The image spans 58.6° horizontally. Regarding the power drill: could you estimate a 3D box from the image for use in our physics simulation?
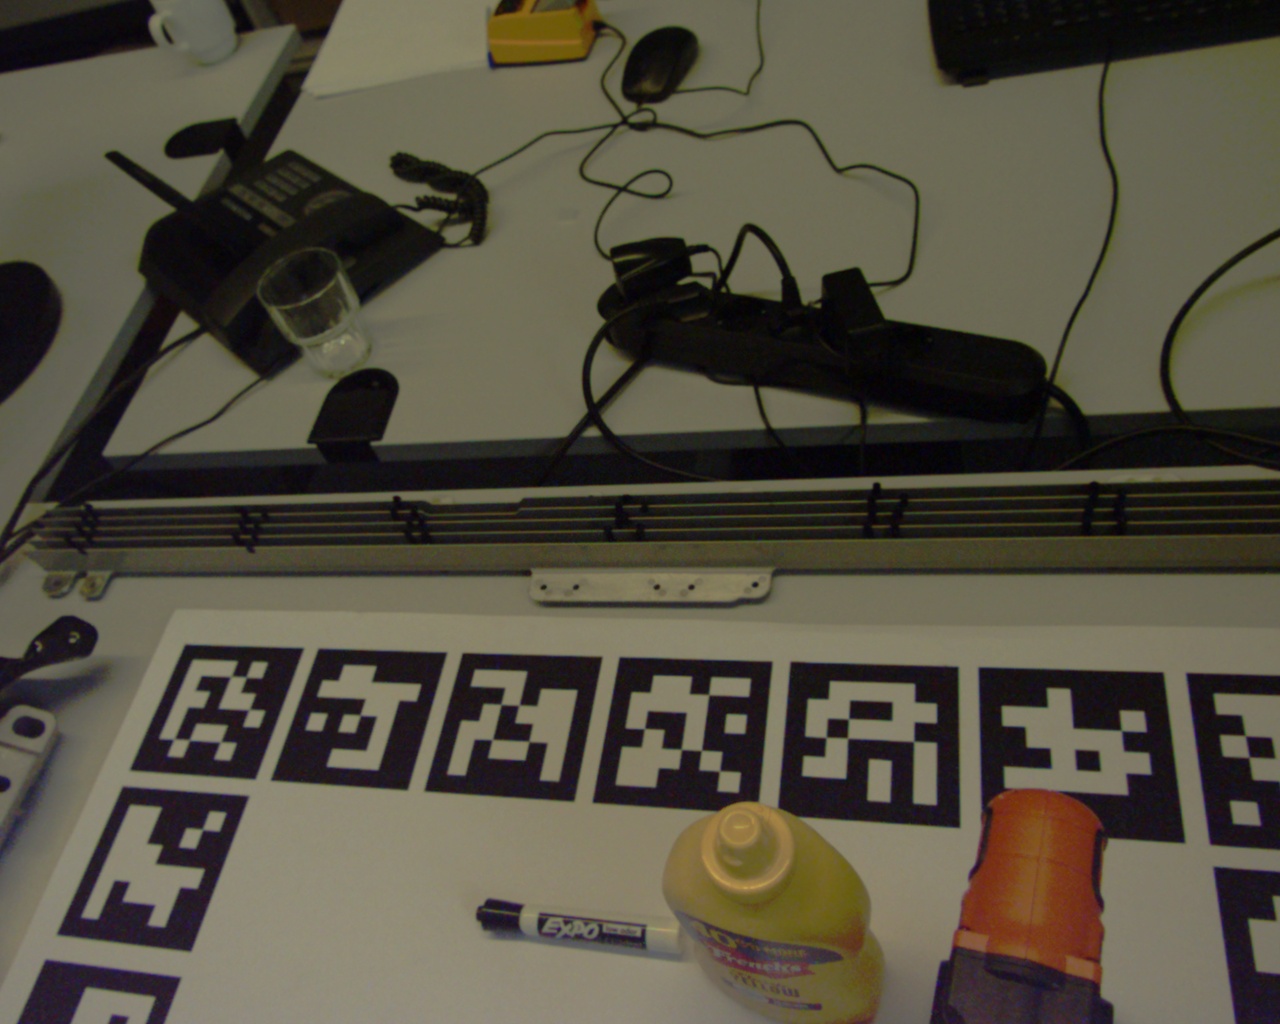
[{"bbox_3d":[0.140,0.243,0.503,0.058,0.185,0.184,12,56,22],"label":"power drill"}]

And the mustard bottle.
[{"bbox_3d":[0.052,0.201,0.583,0.097,0.190,0.058,10,57,21],"label":"mustard bottle"}]

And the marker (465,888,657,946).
[{"bbox_3d":[-0.050,0.245,0.691,0.122,0.019,0.019,1,55,18],"label":"marker"}]
